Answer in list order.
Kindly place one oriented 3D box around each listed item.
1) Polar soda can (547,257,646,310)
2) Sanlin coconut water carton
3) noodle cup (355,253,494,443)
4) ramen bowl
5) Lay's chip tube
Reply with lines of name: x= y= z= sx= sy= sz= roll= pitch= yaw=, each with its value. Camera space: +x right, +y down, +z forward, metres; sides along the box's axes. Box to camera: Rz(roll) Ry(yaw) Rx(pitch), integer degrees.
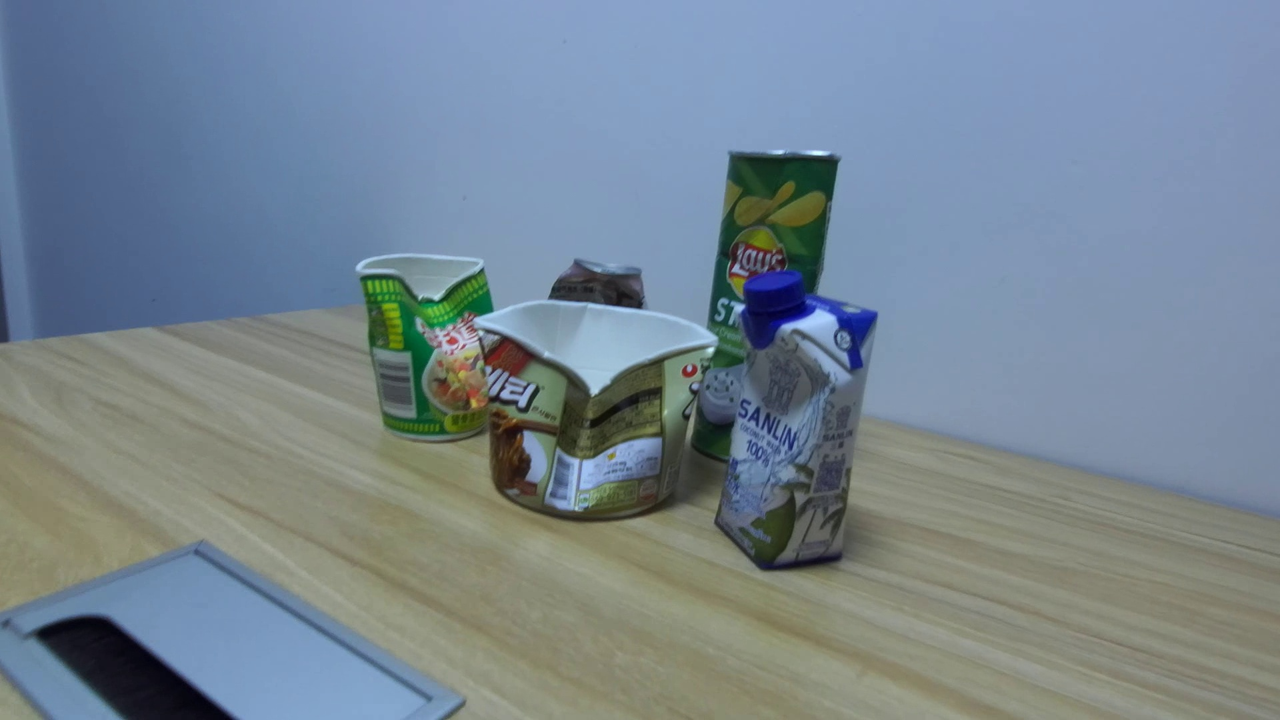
Polar soda can: x=-0.028 y=-0.019 z=0.546 sx=0.070 sy=0.114 sz=0.074 roll=25 pitch=27 yaw=39
Sanlin coconut water carton: x=0.074 y=0.027 z=0.350 sx=0.058 sy=0.142 sz=0.077 roll=-6 pitch=17 yaw=-22
noodle cup: x=-0.137 y=-0.011 z=0.474 sx=0.083 sy=0.122 sz=0.075 roll=-10 pitch=12 yaw=-20
ramen bowl: x=-0.024 y=0.022 z=0.419 sx=0.137 sy=0.098 sz=0.137 roll=7 pitch=14 yaw=-1
Lay's chip tube: x=0.081 y=-0.034 z=0.470 sx=0.074 sy=0.199 sz=0.069 roll=9 pitch=15 yaw=14
